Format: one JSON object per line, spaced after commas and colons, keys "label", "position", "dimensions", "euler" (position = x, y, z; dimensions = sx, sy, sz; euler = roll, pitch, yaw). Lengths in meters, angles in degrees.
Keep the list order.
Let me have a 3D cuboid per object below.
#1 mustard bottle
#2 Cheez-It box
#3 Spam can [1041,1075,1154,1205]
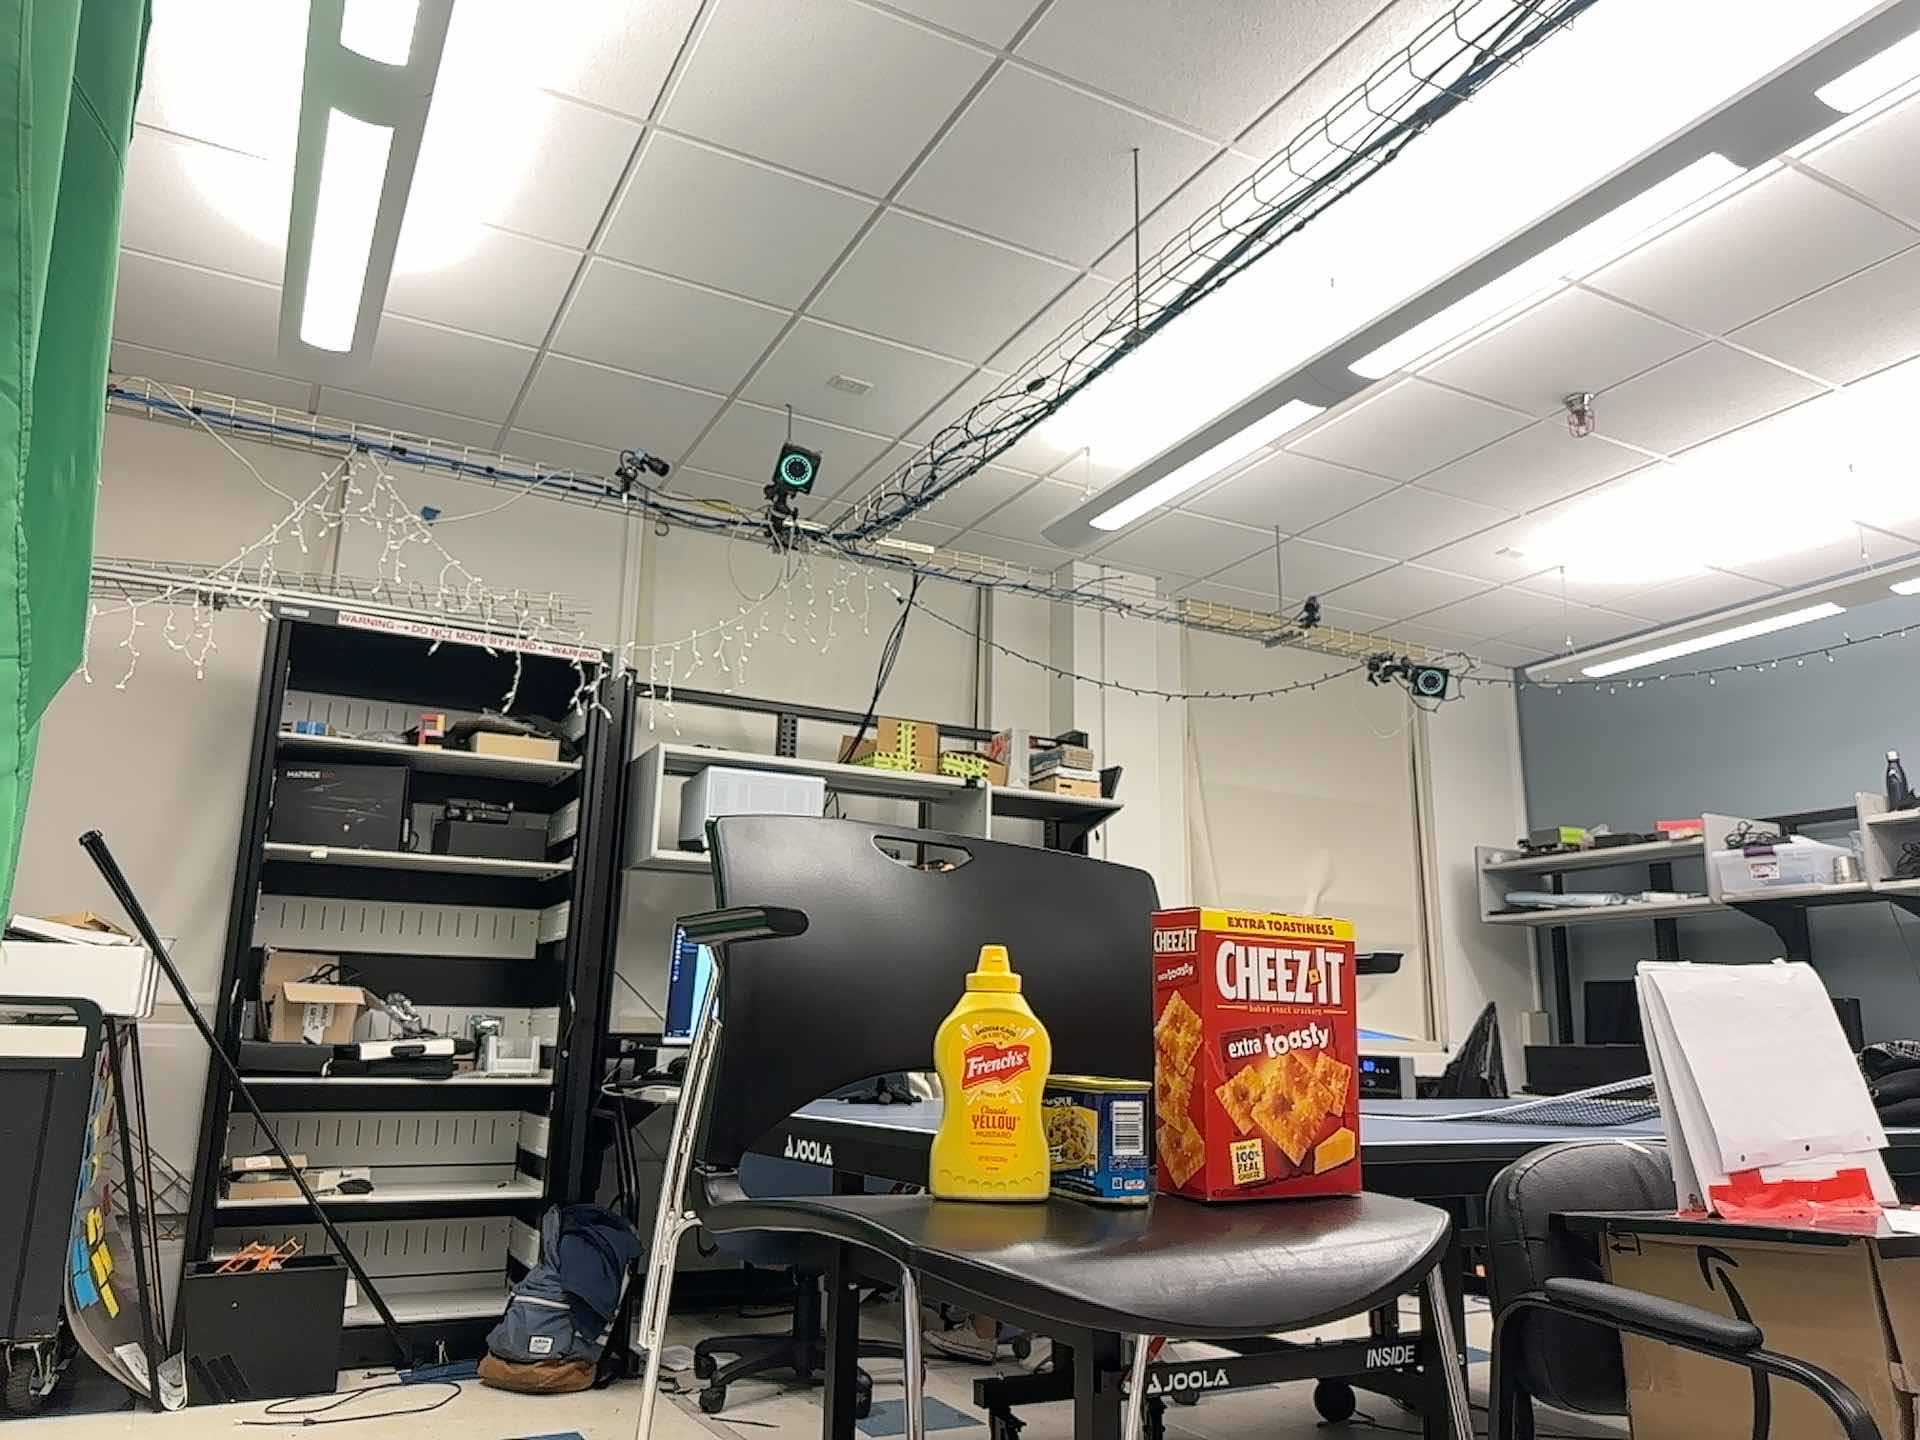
{"label": "mustard bottle", "position": [0.021, 0.259, 1.007], "dimensions": [0.092, 0.184, 0.054], "euler": [5, -12, -10]}
{"label": "Cheez-It box", "position": [0.243, 0.261, 1.094], "dimensions": [0.159, 0.214, 0.062], "euler": [7, -15, -26]}
{"label": "Spam can", "position": [0.101, 0.318, 1.031], "dimensions": [0.056, 0.083, 0.100], "euler": [9, -13, -24]}
